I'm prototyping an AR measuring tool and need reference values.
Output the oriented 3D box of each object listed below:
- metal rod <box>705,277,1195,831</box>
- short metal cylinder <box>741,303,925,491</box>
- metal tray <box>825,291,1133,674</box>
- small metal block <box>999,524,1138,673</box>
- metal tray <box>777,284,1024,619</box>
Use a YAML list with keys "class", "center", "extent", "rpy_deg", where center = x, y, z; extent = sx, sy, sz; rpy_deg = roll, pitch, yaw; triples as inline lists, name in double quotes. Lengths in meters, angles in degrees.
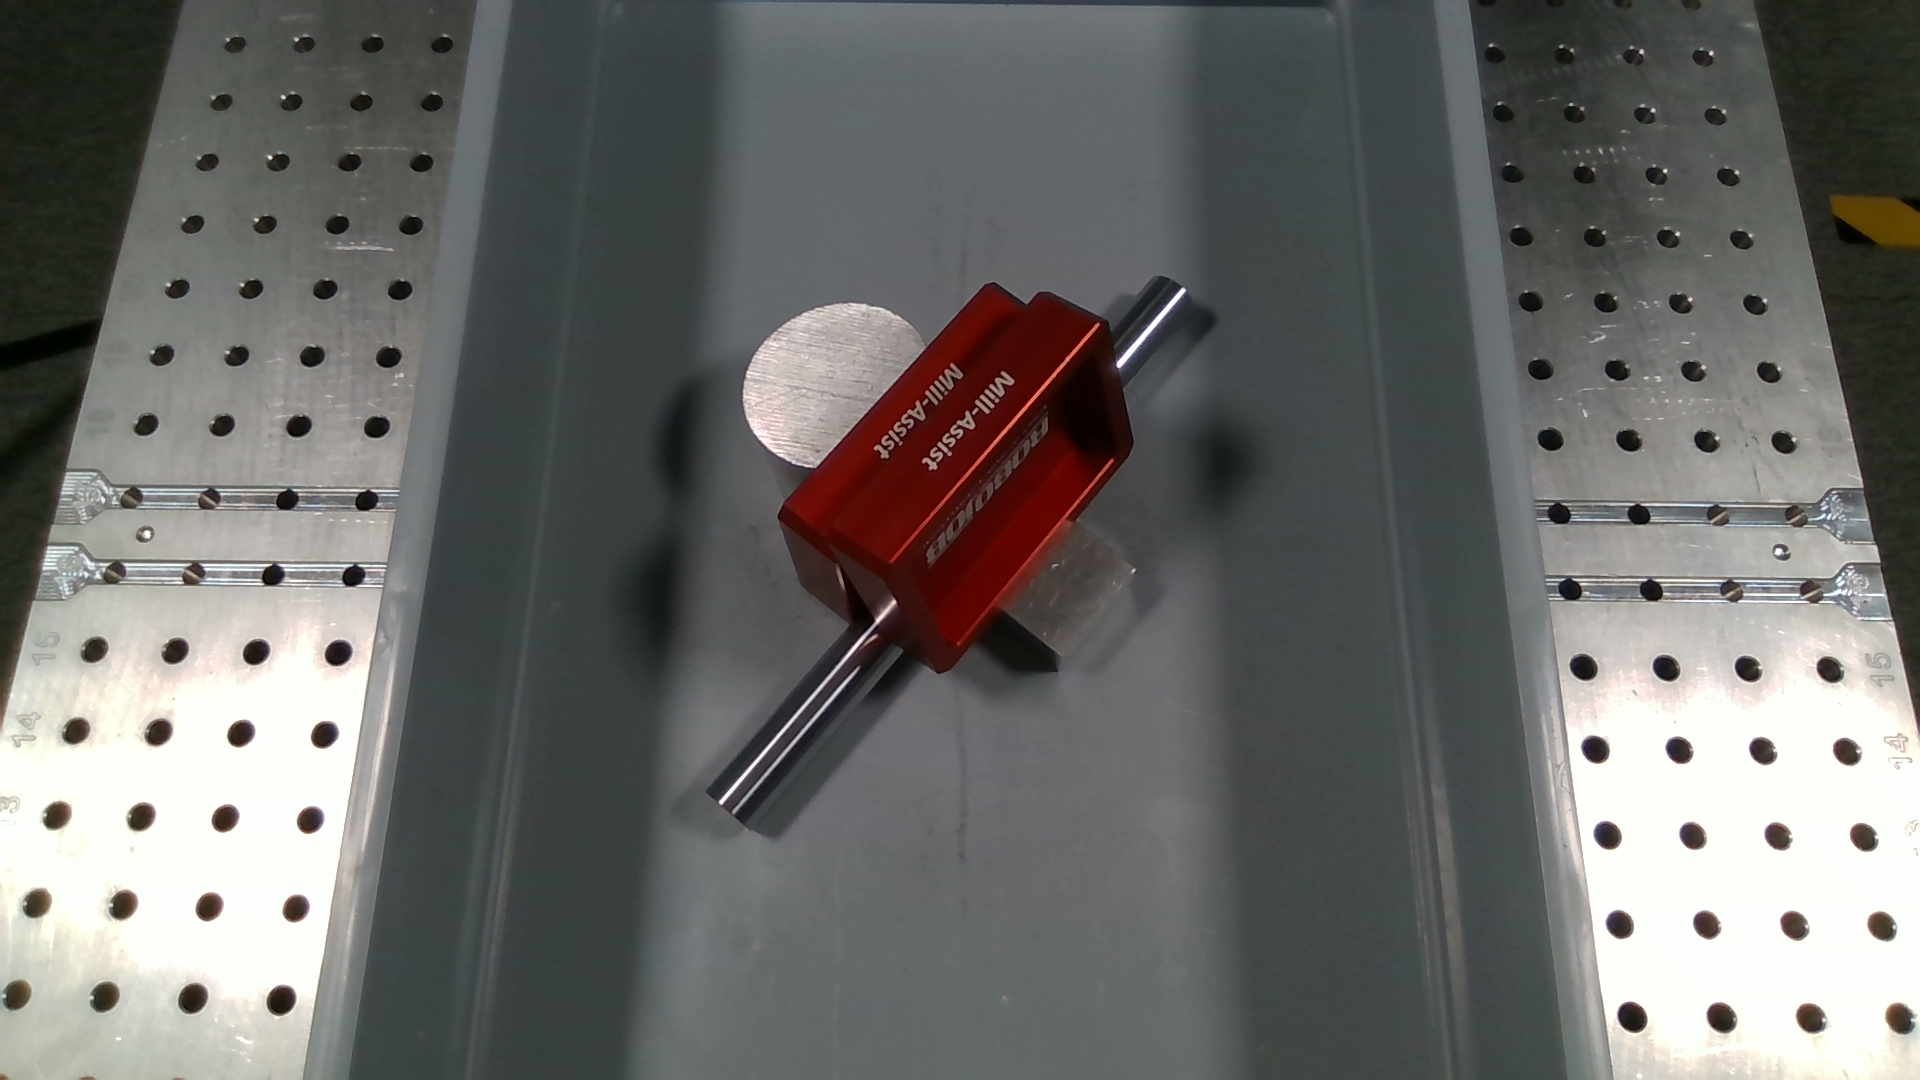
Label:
- class: "metal rod"
  center: [0.002, -0.001, 0.589]
  extent: [0.025, 0.025, 0.300]
  rpy_deg: [37, 74, 12]
- class: "short metal cylinder"
  center: [-0.048, -0.053, 0.587]
  extent: [0.080, 0.050, 0.080]
  rpy_deg: [-3, 65, 6]
- class: "metal tray"
  center: [0.013, -0.021, 0.533]
  extent: [0.030, 0.090, 0.130]
  rpy_deg: [32, 73, 29]
- class: "small metal block"
  center: [0.038, 0.019, 0.580]
  extent: [0.050, 0.025, 0.050]
  rpy_deg: [39, 75, 13]
- class: "metal tray"
  center: [-0.016, -0.033, 0.564]
  extent: [0.030, 0.090, 0.130]
  rpy_deg: [37, 74, 12]
